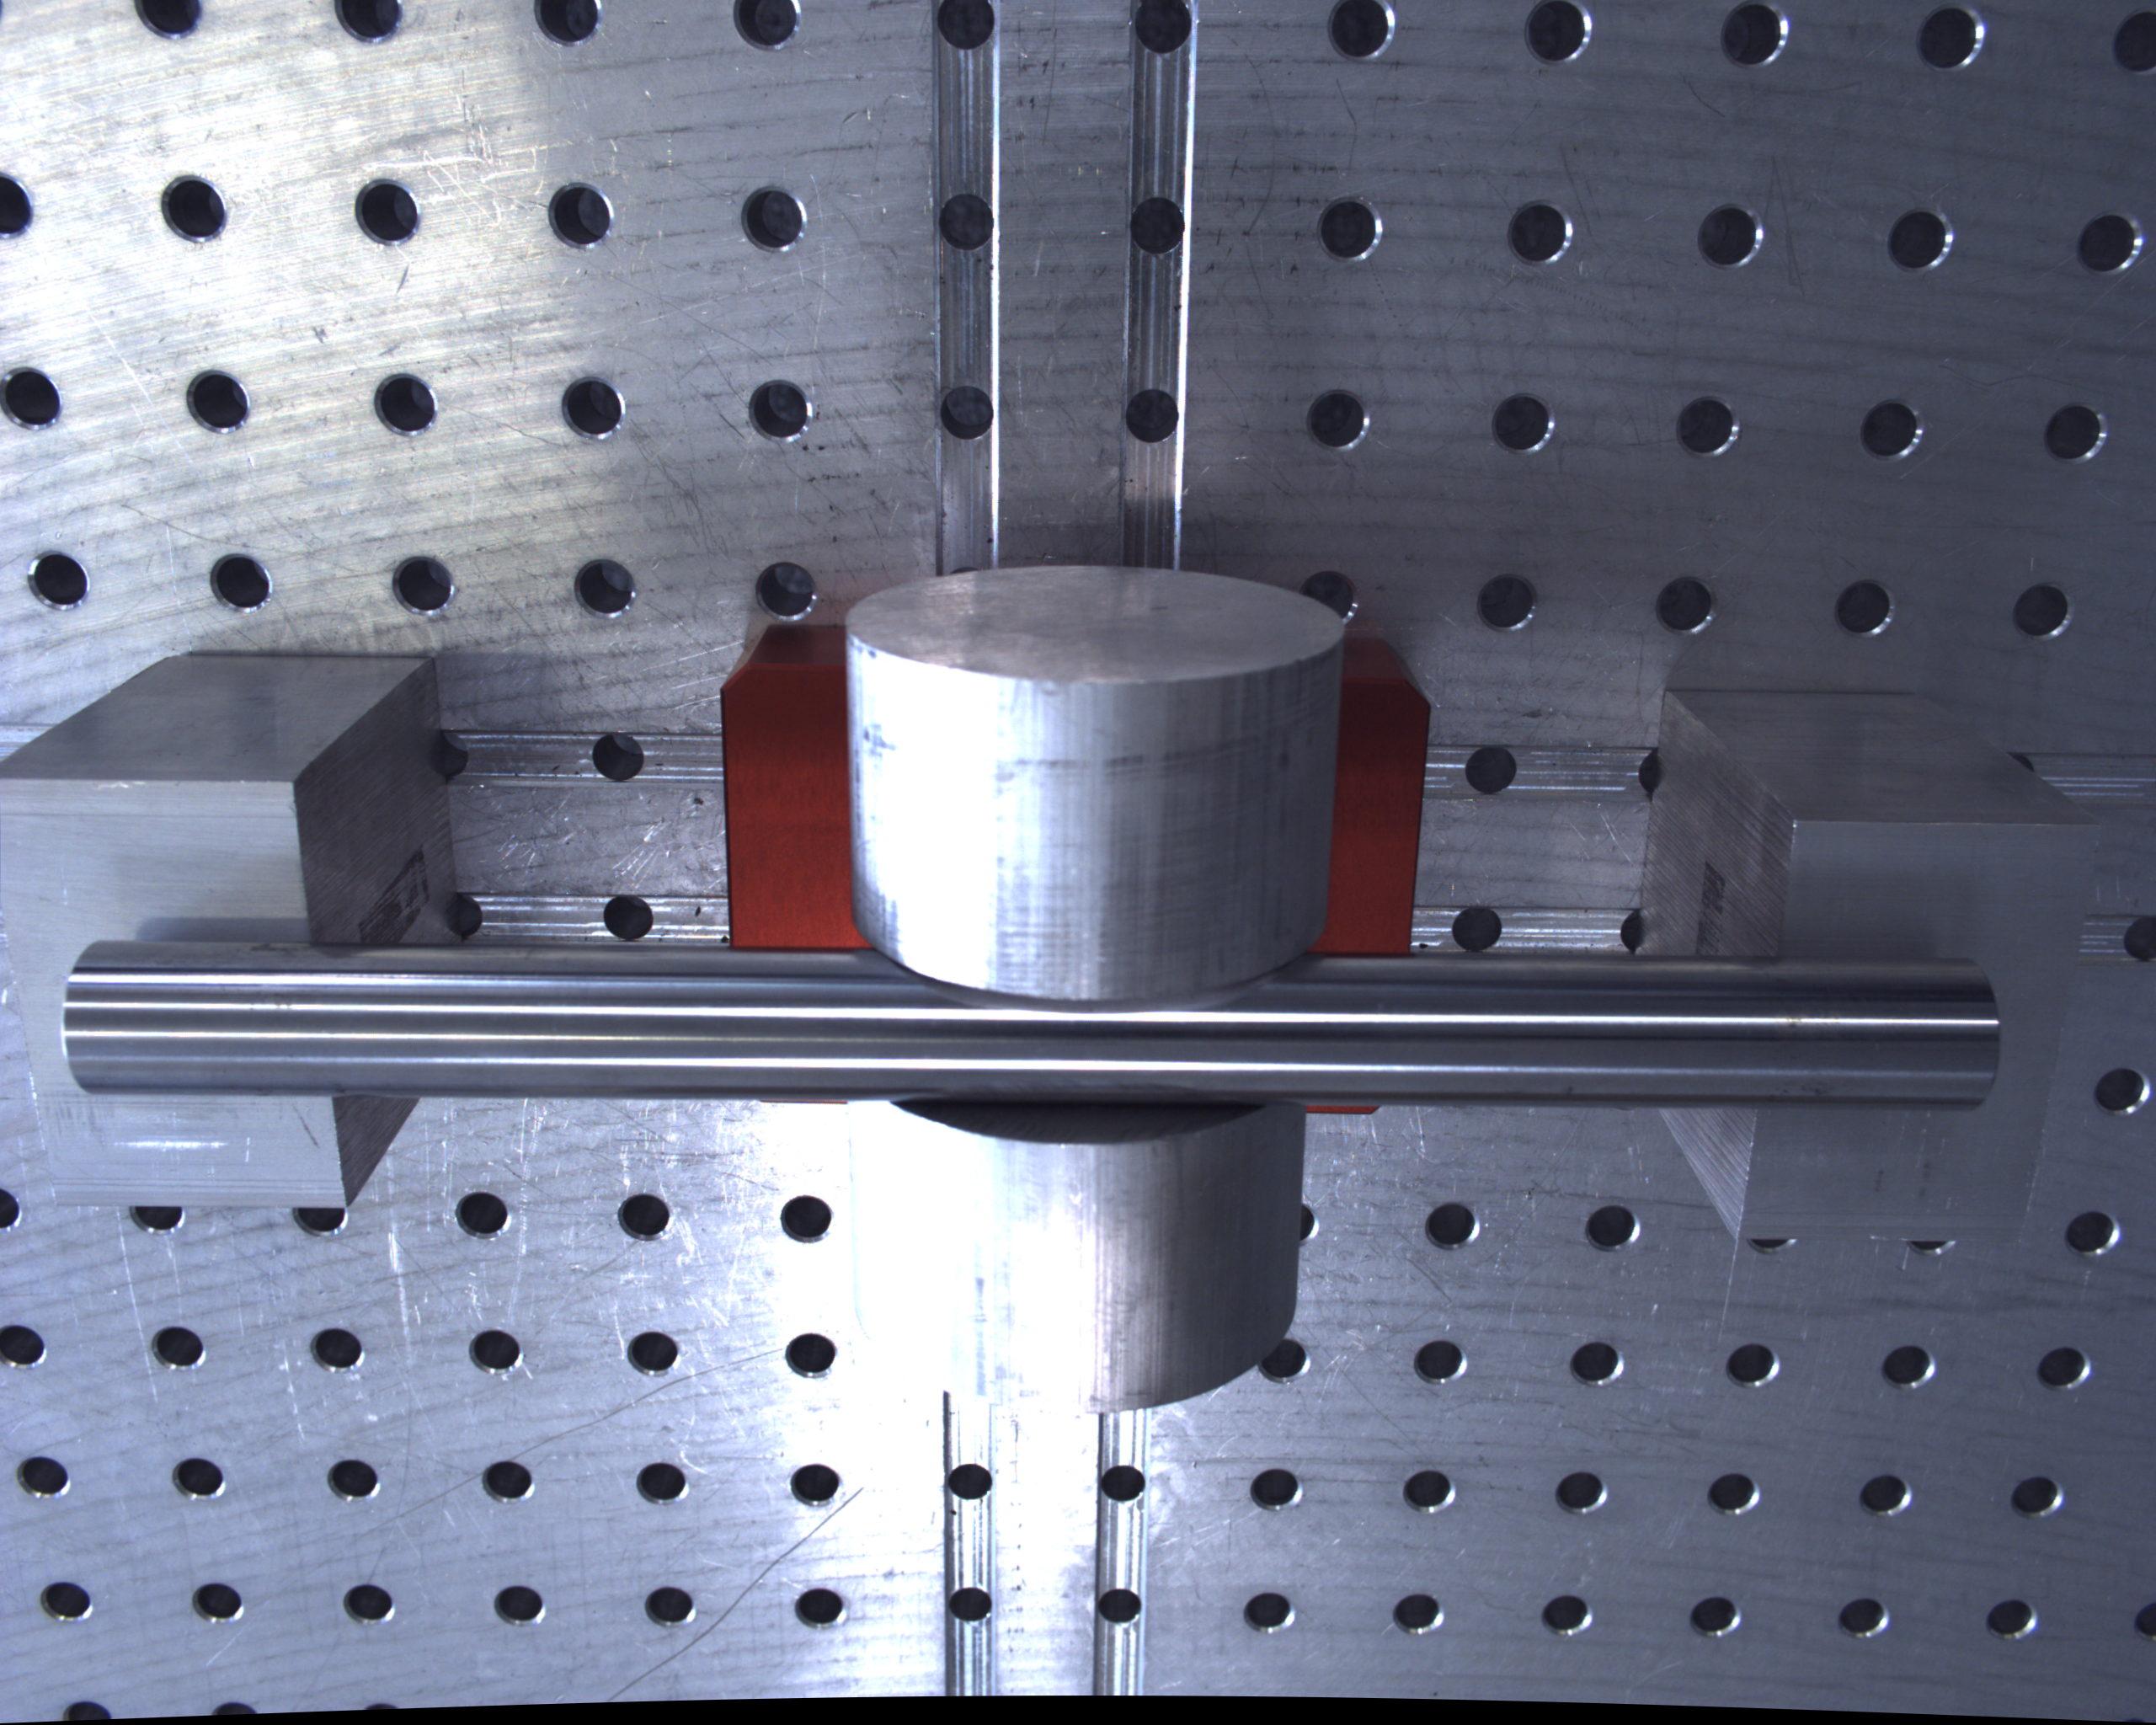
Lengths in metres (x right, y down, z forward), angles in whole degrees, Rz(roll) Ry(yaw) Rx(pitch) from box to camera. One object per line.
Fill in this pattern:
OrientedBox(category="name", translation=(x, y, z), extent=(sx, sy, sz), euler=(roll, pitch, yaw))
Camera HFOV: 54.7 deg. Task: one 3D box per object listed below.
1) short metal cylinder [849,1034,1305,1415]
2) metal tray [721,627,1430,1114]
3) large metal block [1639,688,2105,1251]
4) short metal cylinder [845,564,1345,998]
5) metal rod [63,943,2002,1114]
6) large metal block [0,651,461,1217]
OrientedBox(category="short metal cylinder", translation=(0.000, 0.054, 0.372), extent=(0.081, 0.080, 0.050), euler=(1, 110, -1))
OrientedBox(category="metal tray", translation=(-0.001, 0.002, 0.411), extent=(0.131, 0.030, 0.089), euler=(1, 110, -1))
OrientedBox(category="large metal block", translation=(0.141, 0.017, 0.390), extent=(0.050, 0.080, 0.079), euler=(1, 110, 0))
OrientedBox(category="short metal cylinder", translation=(0.002, -0.017, 0.346), extent=(0.081, 0.080, 0.050), euler=(1, 110, -1))
OrientedBox(category="metal rod", translation=(-0.006, 0.027, 0.337), extent=(0.302, 0.025, 0.025), euler=(1, 110, -1))
OrientedBox(category="large metal block", translation=(-0.152, 0.010, 0.385), extent=(0.050, 0.080, 0.079), euler=(1, 110, 0))
